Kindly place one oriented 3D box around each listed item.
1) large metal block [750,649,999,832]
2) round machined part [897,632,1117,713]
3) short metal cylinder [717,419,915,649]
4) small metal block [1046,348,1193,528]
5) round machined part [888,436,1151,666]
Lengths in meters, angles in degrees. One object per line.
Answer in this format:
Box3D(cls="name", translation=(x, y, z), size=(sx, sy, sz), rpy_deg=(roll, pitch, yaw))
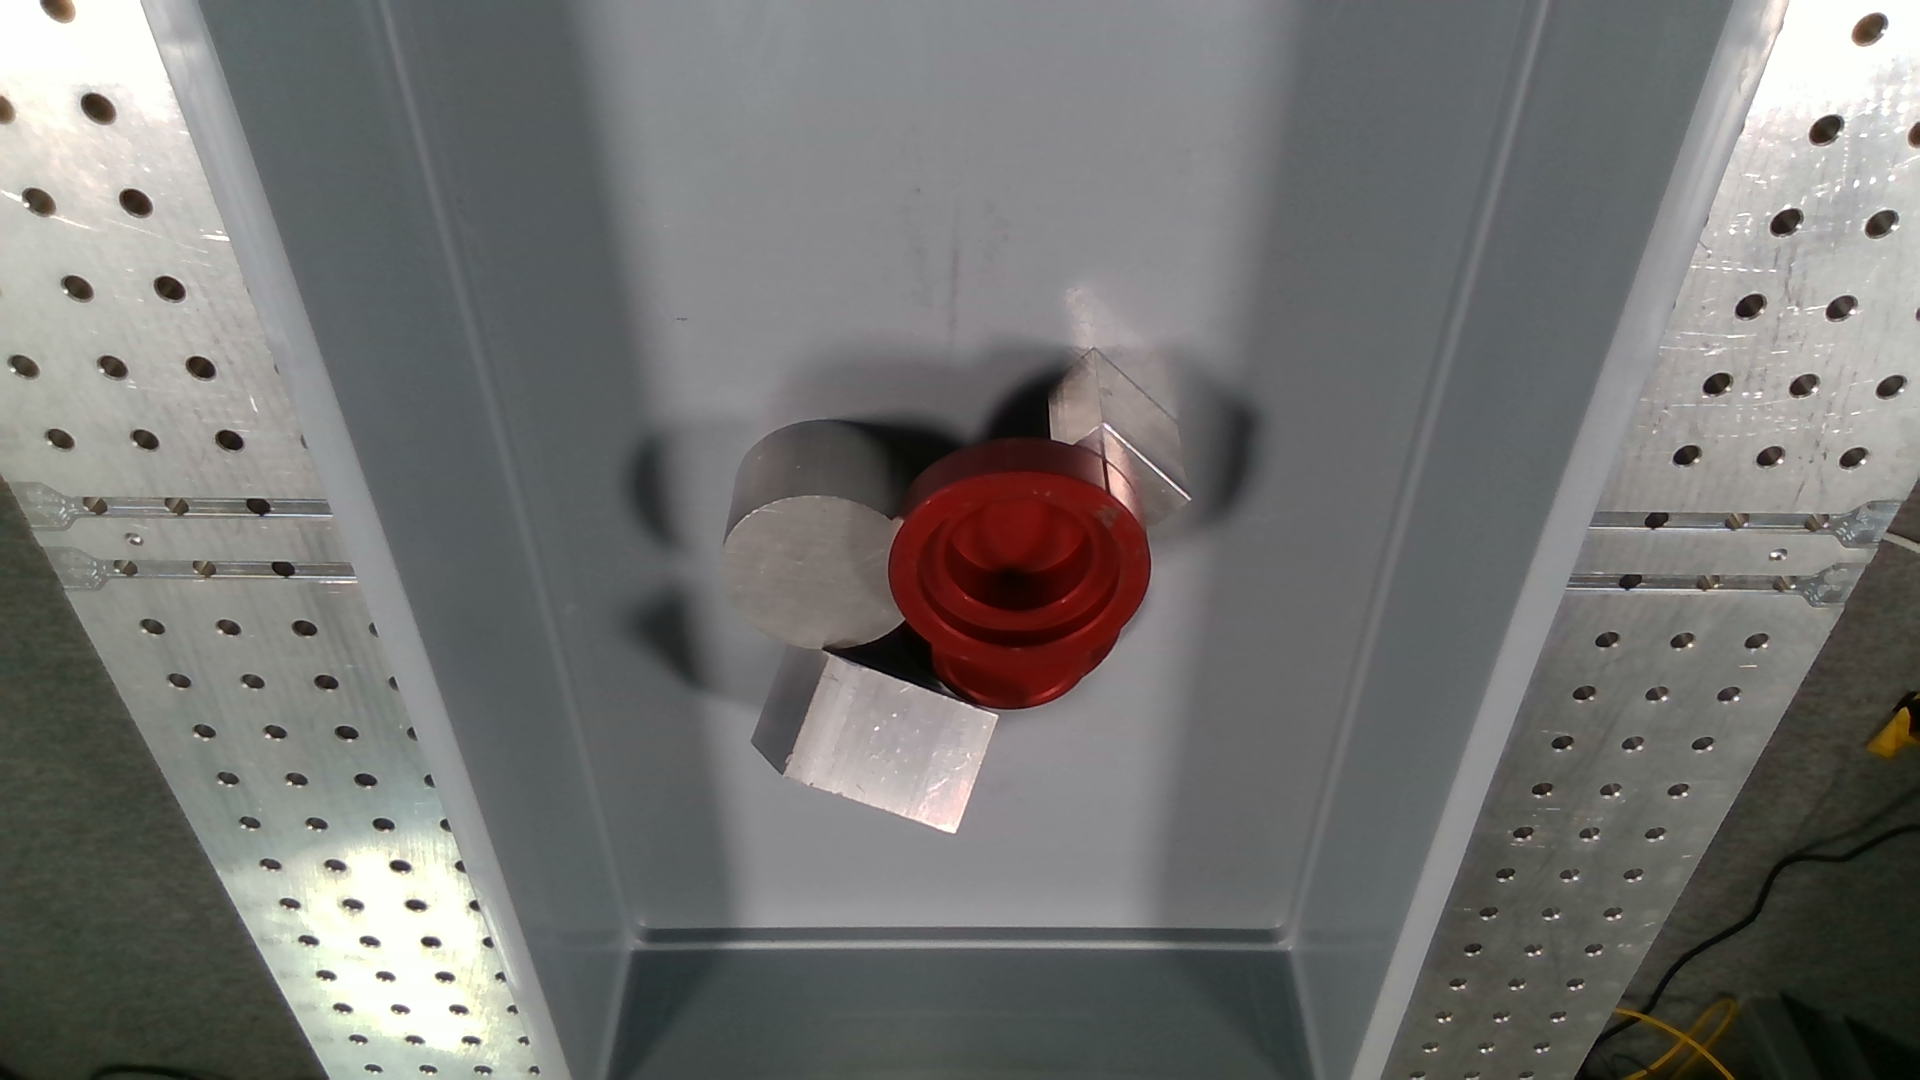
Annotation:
Box3D(cls="large metal block", translation=(-0.040, 0.083, 0.603), size=(0.080, 0.080, 0.050), rpy_deg=(22, 86, -18))
Box3D(cls="round machined part", translation=(0.021, 0.037, 0.595), size=(0.098, 0.042, 0.098), rpy_deg=(0, 130, 0))
Box3D(cls="short metal cylinder", translation=(-0.055, -0.002, 0.560), size=(0.080, 0.050, 0.080), rpy_deg=(0, 130, 0))
Box3D(cls="small metal block", translation=(0.061, -0.038, 0.529), size=(0.050, 0.050, 0.025), rpy_deg=(37, 121, -26))
Box3D(cls="round machined part", translation=(0.022, -0.001, 0.528), size=(0.098, 0.042, 0.098), rpy_deg=(0, 130, 0))
